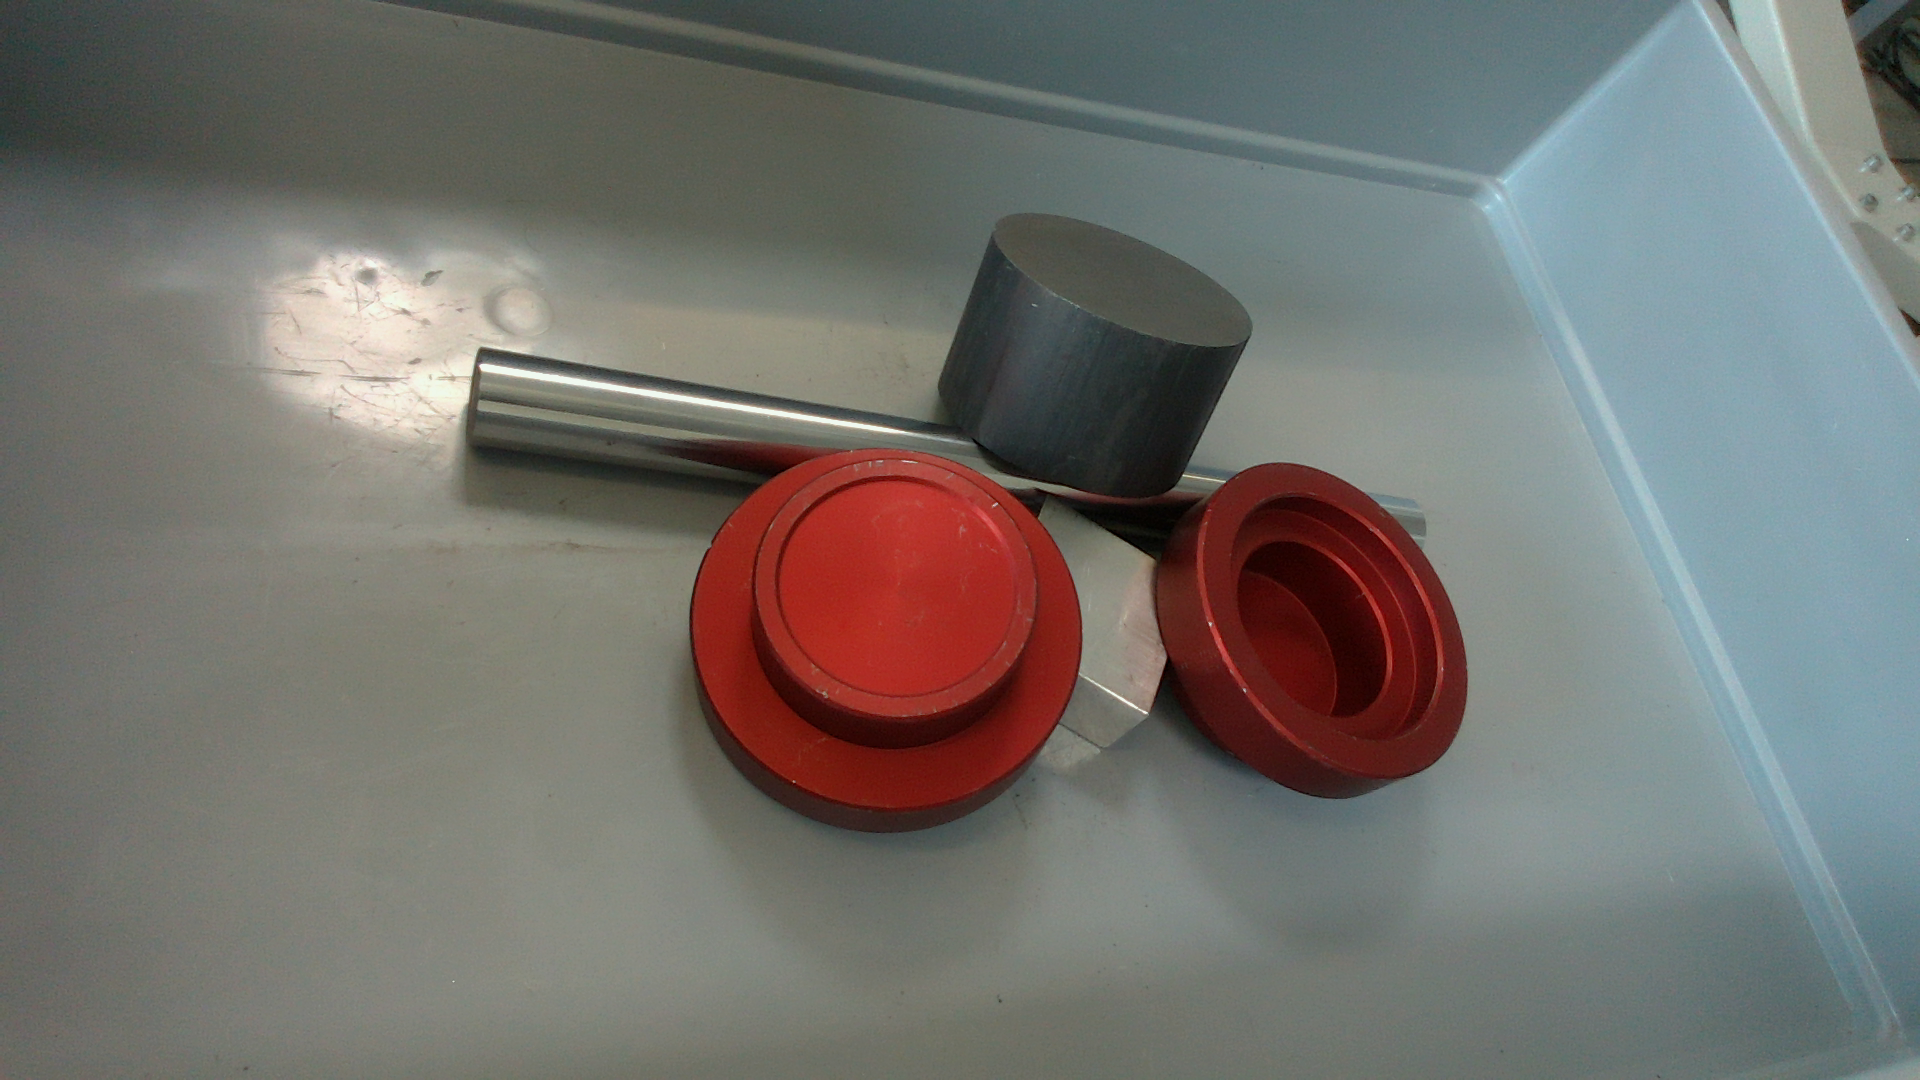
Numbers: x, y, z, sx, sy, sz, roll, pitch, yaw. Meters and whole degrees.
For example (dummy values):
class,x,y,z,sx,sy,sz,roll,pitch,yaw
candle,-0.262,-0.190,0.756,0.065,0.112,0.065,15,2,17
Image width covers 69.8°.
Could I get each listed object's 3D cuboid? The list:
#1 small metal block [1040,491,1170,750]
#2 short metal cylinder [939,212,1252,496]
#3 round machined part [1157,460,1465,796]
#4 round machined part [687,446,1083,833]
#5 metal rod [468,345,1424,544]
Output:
class,x,y,z,sx,sy,sz,roll,pitch,yaw
small metal block,0.033,0.023,0.392,0.050,0.025,0.050,32,51,-8
short metal cylinder,0.039,-0.056,0.409,0.080,0.050,0.080,17,30,-10
round machined part,0.099,0.029,0.410,0.098,0.042,0.098,15,57,-24
round machined part,-0.018,0.019,0.339,0.098,0.042,0.098,3,63,-6
metal rod,0.014,-0.020,0.408,0.301,0.025,0.025,7,58,-25
